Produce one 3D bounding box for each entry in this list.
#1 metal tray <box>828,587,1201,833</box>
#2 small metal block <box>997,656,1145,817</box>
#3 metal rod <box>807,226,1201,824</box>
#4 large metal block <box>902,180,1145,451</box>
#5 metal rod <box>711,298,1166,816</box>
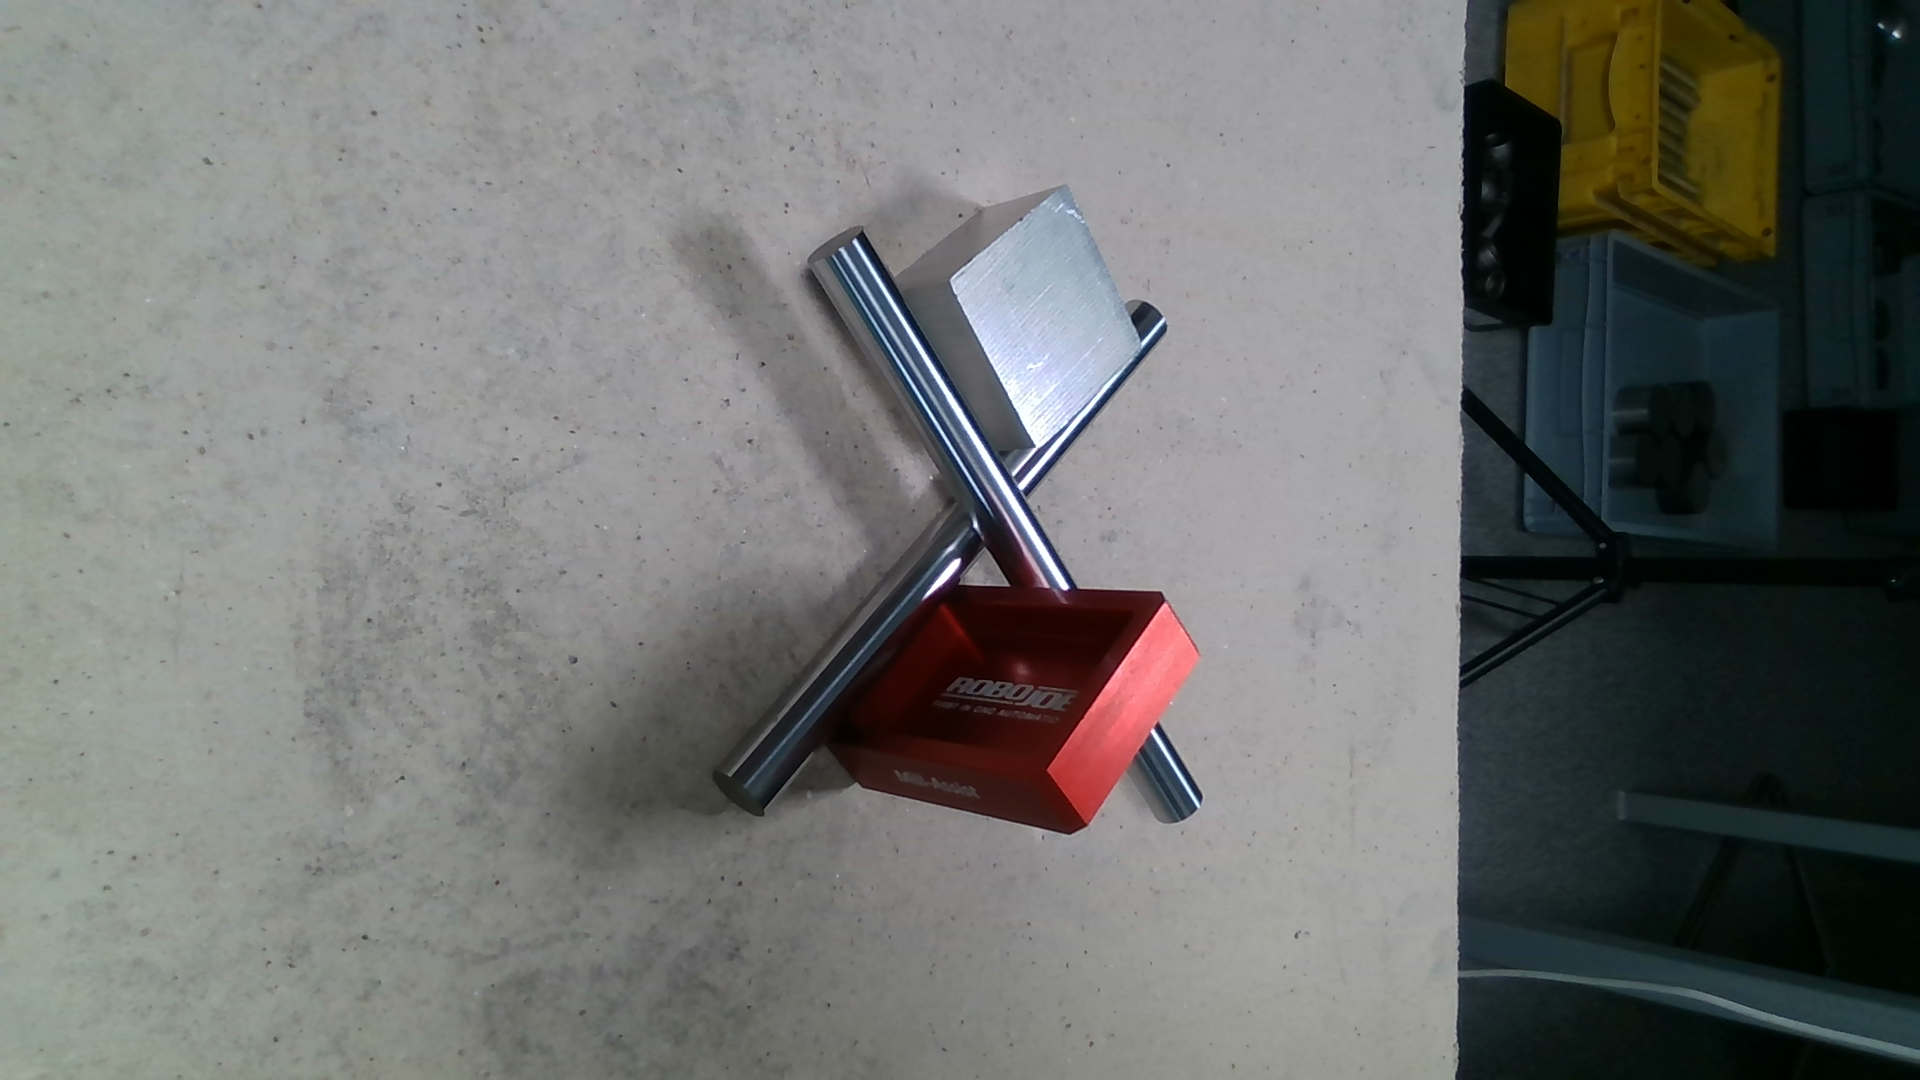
[{"bbox_3d":[0.017,0.060,0.528,0.090,0.130,0.030,-50,119,-29],"label":"metal tray"},{"bbox_3d":[0.051,0.089,0.626,0.050,0.025,0.050,-43,116,-32],"label":"small metal block"},{"bbox_3d":[0.027,0.006,0.573,0.025,0.025,0.301,-47,118,-30],"label":"metal rod"},{"bbox_3d":[0.022,-0.093,0.584,0.080,0.050,0.080,-44,117,-31],"label":"large metal block"},{"bbox_3d":[0.002,-0.005,0.585,0.299,0.025,0.025,-50,119,-29],"label":"metal rod"}]
